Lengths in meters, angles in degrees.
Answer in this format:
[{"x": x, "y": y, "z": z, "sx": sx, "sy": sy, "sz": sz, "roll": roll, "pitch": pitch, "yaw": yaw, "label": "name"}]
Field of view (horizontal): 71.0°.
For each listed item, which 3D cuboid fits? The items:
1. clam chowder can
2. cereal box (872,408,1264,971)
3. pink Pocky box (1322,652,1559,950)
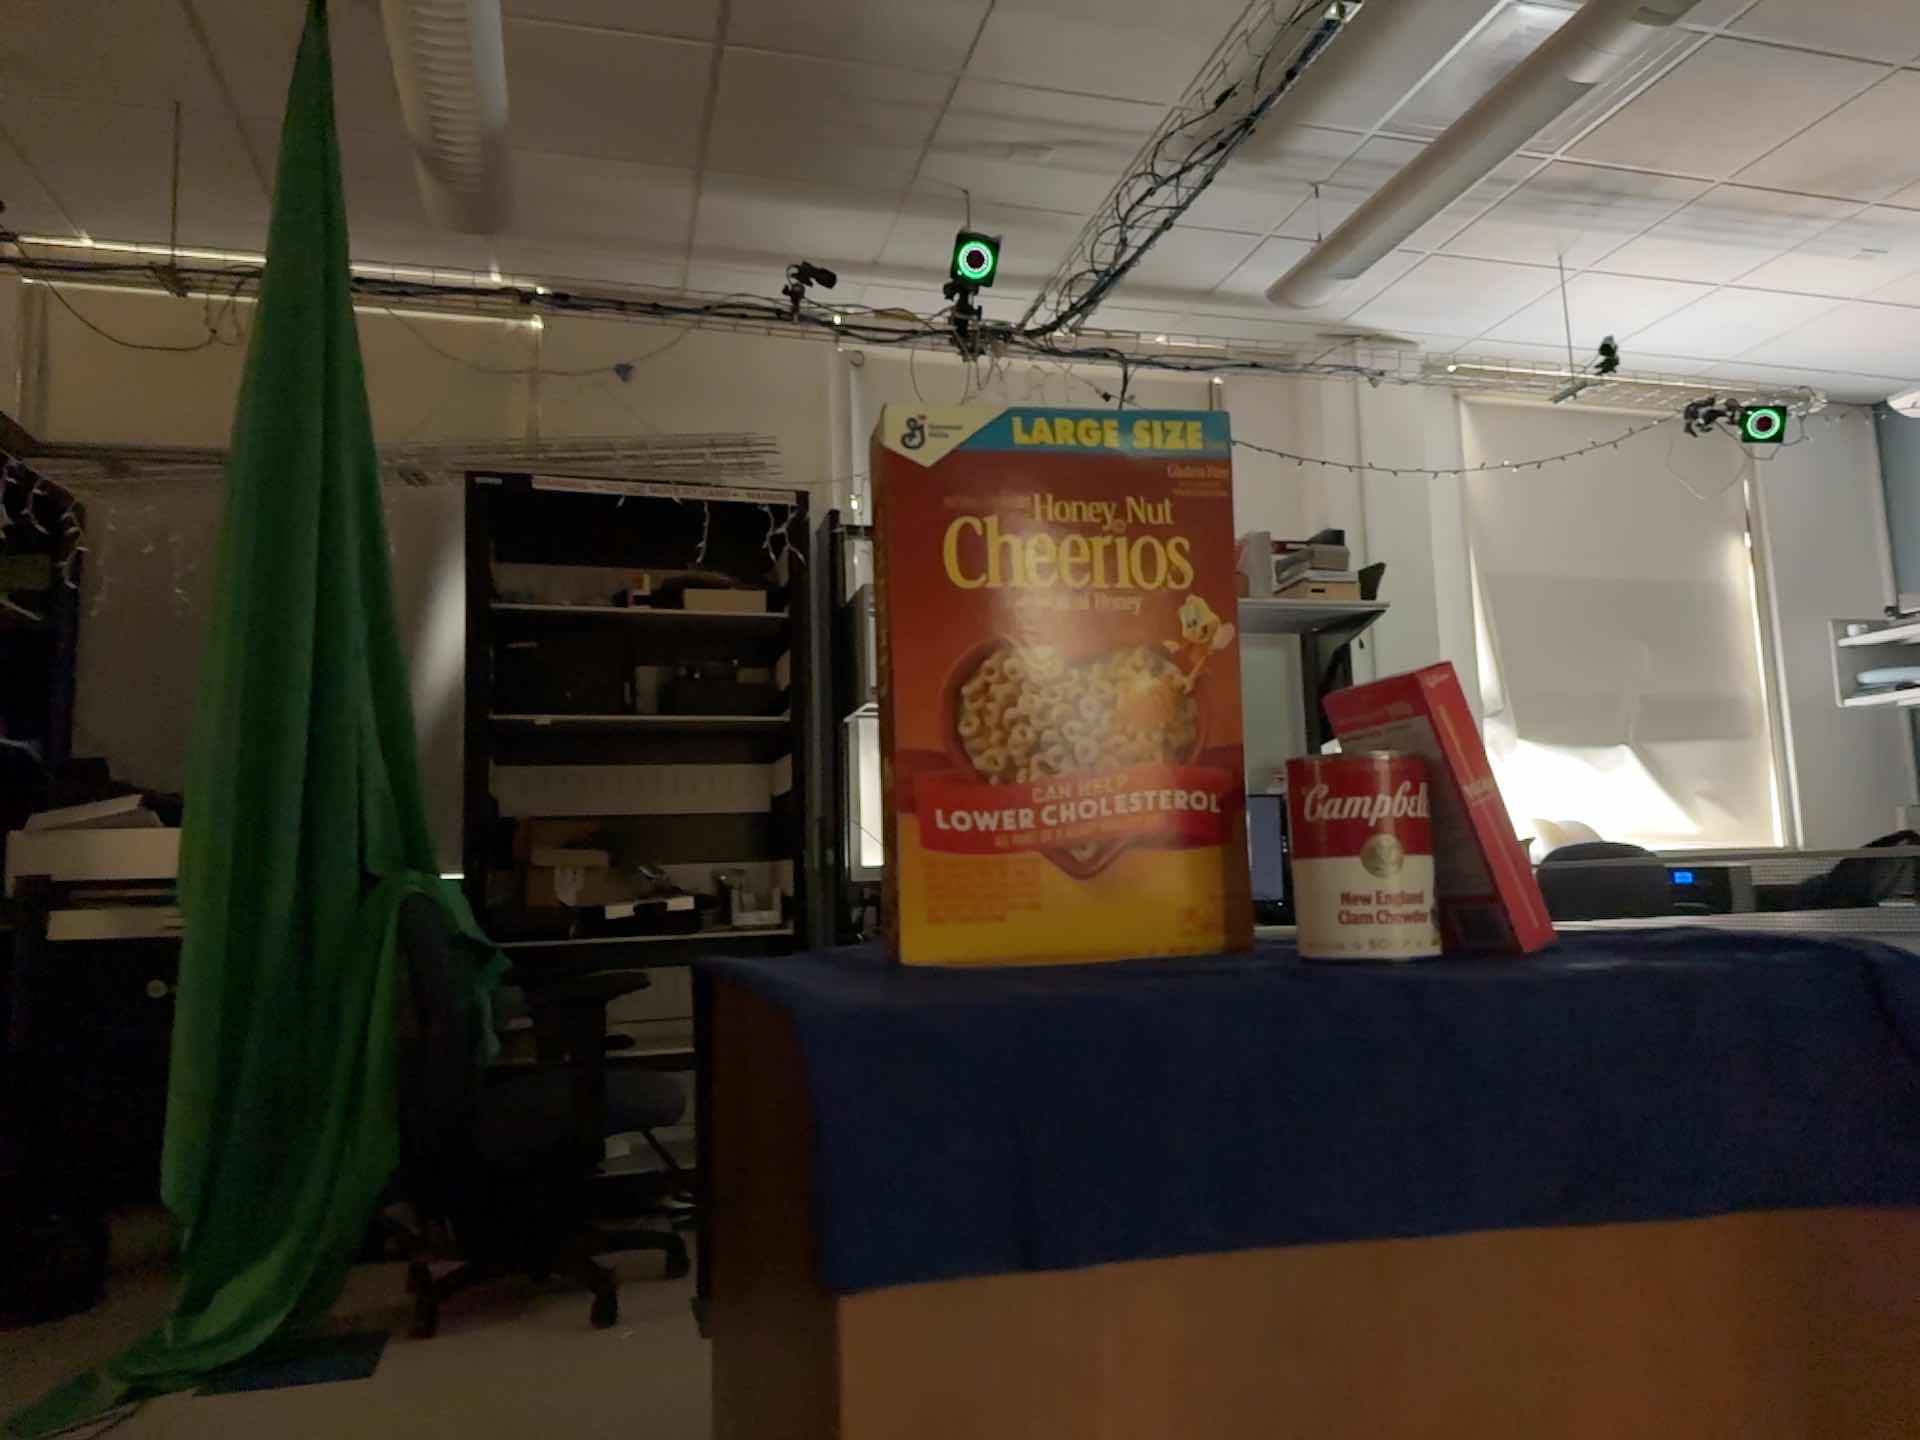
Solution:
[{"x": 0.199, "y": 0.072, "z": 0.692, "sx": 0.068, "sy": 0.102, "sz": 0.068, "roll": 1, "pitch": -6, "yaw": 0, "label": "clam chowder can"}, {"x": 0.055, "y": -0.020, "z": 0.753, "sx": 0.195, "sy": 0.297, "sz": 0.065, "roll": 0, "pitch": -6, "yaw": -7, "label": "cereal box"}, {"x": 0.252, "y": 0.045, "z": 0.716, "sx": 0.029, "sy": 0.155, "sz": 0.084, "roll": -22, "pitch": -1, "yaw": -21, "label": "pink Pocky box"}]
